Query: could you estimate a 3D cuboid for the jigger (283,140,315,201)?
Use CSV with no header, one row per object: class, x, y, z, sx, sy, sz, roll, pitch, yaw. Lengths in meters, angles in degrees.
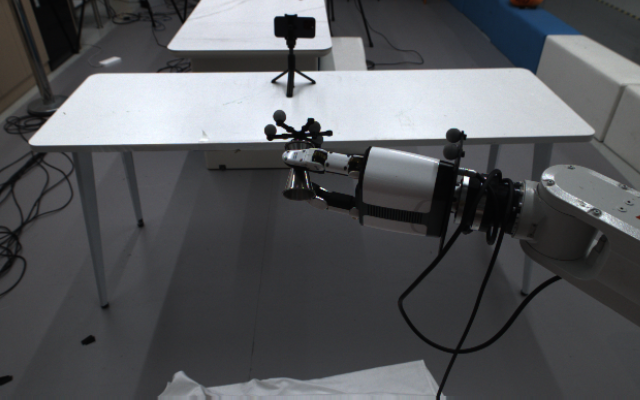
jigger,-0.027,-0.040,0.626,0.043,0.043,0.071,1,70,-2
